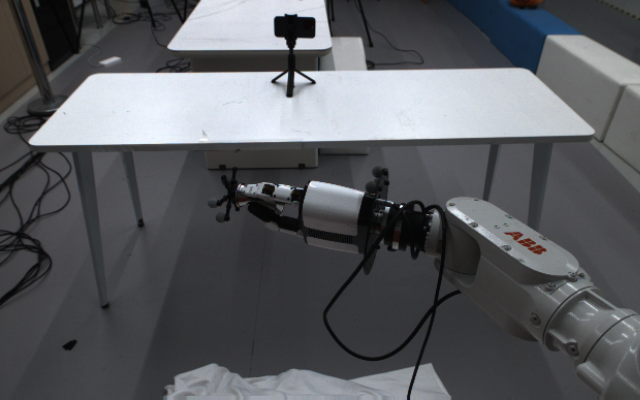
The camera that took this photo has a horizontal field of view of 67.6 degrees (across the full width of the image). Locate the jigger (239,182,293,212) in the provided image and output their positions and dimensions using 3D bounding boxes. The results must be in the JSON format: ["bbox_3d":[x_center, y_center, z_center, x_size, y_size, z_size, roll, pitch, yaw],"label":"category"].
[{"bbox_3d":[-0.087,-0.008,0.755,0.071,0.043,0.043,7,35,15],"label":"jigger"}]
